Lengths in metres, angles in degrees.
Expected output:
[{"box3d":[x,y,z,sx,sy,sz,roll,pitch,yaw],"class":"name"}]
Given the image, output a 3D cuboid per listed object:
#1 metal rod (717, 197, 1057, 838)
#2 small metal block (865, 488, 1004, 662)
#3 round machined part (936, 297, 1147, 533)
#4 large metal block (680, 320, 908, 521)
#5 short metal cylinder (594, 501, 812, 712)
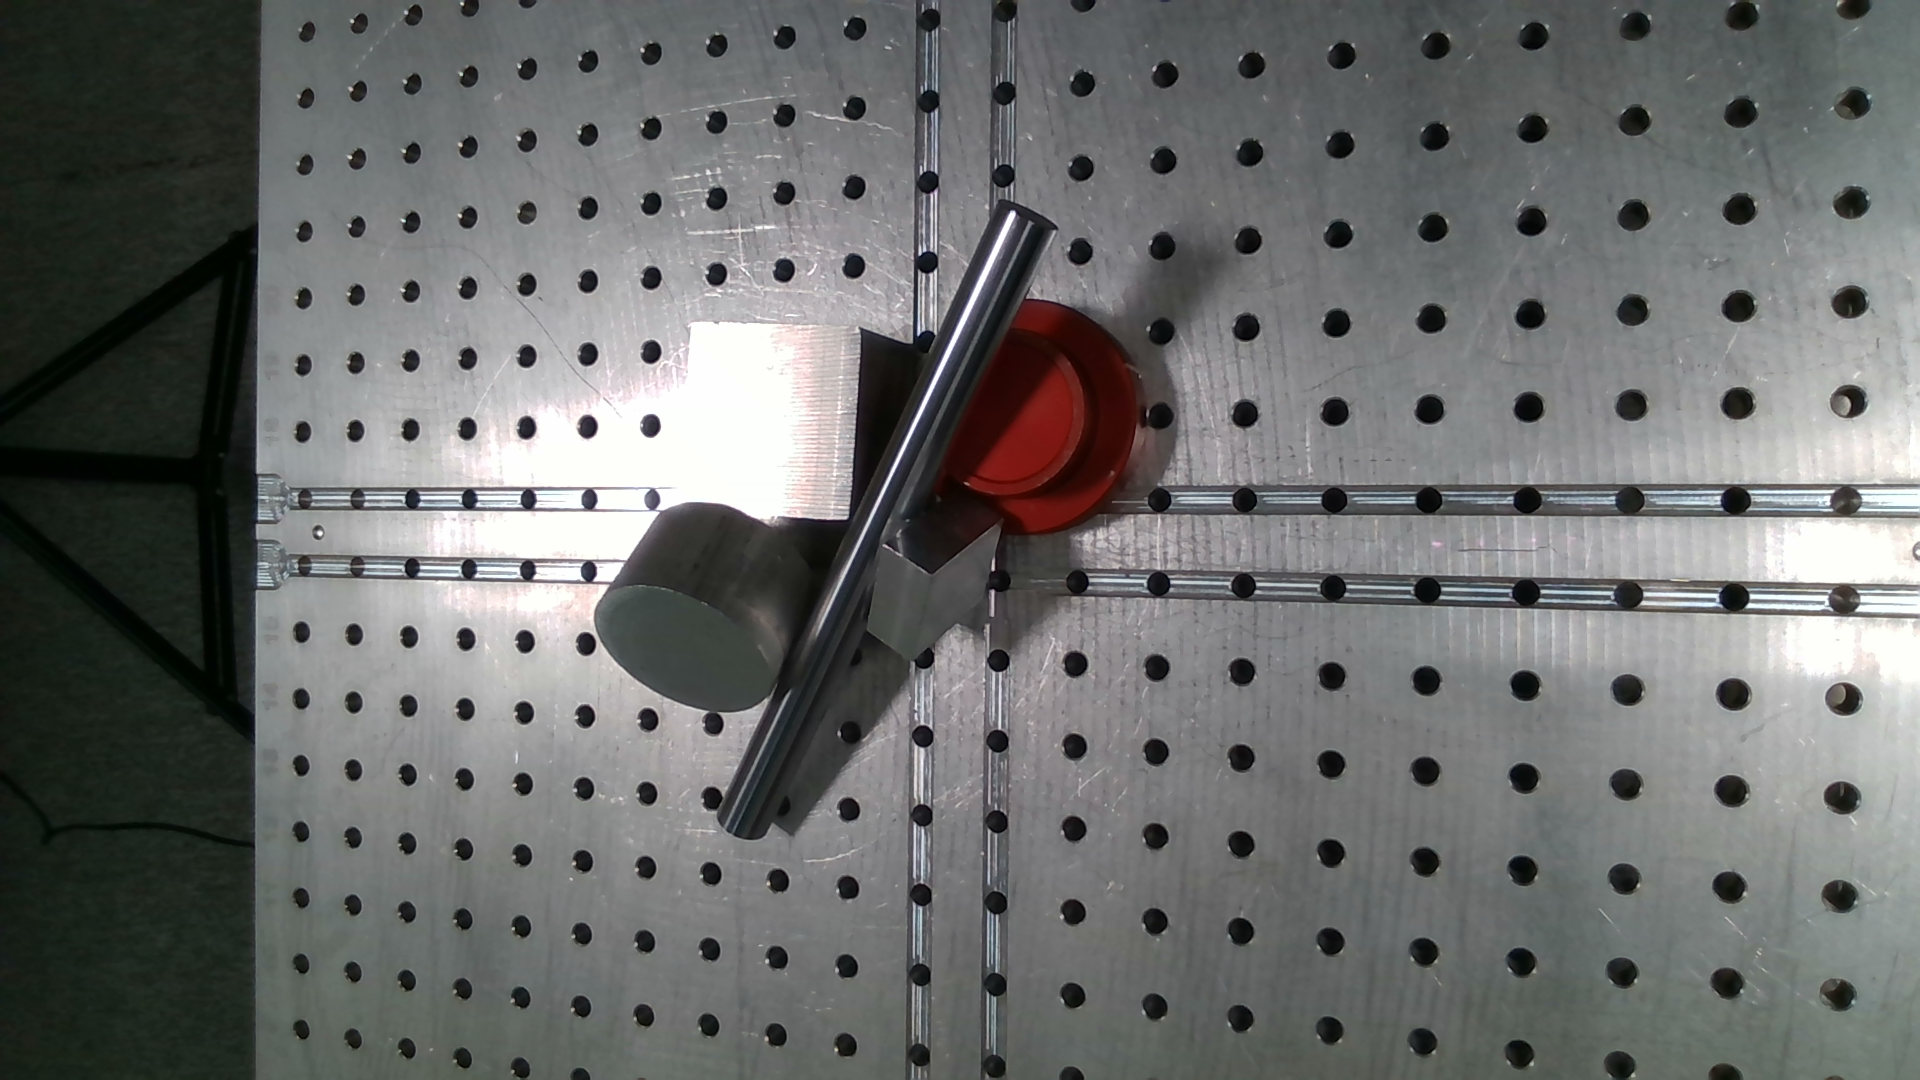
[{"box3d":[-0.037,0.003,0.567,0.025,0.025,0.301,34,114,17],"class":"metal rod"},{"box3d":[-0.011,0.014,0.569,0.025,0.050,0.050,33,135,20],"class":"small metal block"},{"box3d":[0.025,-0.052,0.569,0.098,0.042,0.098,0,91,20],"class":"round machined part"},{"box3d":[-0.072,-0.051,0.598,0.080,0.050,0.080,5,92,20],"class":"large metal block"},{"box3d":[-0.109,0.029,0.592,0.080,0.050,0.080,13,139,12],"class":"short metal cylinder"}]
